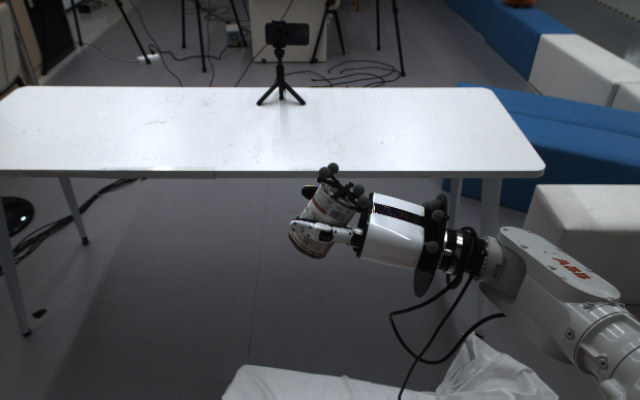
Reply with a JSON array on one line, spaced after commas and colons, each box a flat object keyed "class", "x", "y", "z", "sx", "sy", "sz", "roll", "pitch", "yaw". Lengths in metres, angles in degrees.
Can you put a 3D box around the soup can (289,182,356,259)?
[{"class": "soup can", "x": 0.007, "y": 0.030, "z": 0.727, "sx": 0.067, "sy": 0.101, "sz": 0.067, "roll": 28, "pitch": 21, "yaw": -12}]
